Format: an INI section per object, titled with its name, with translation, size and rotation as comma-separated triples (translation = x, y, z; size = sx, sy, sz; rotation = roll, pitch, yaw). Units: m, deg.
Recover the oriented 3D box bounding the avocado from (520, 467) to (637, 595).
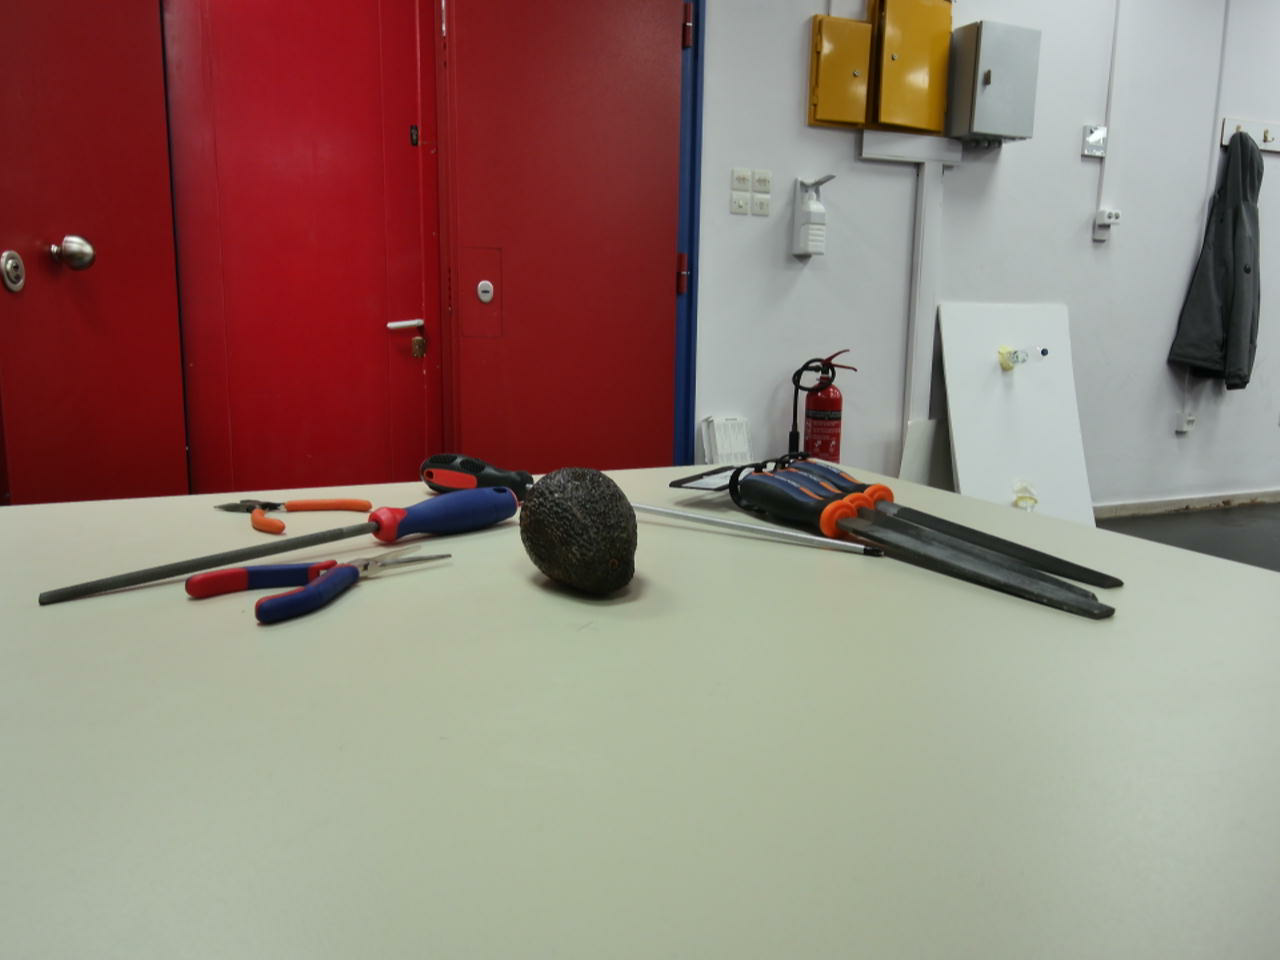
[avocado]
translation = -0.037, 0.028, 0.589
size = 0.070, 0.069, 0.090
rotation = 1, 8, 1
